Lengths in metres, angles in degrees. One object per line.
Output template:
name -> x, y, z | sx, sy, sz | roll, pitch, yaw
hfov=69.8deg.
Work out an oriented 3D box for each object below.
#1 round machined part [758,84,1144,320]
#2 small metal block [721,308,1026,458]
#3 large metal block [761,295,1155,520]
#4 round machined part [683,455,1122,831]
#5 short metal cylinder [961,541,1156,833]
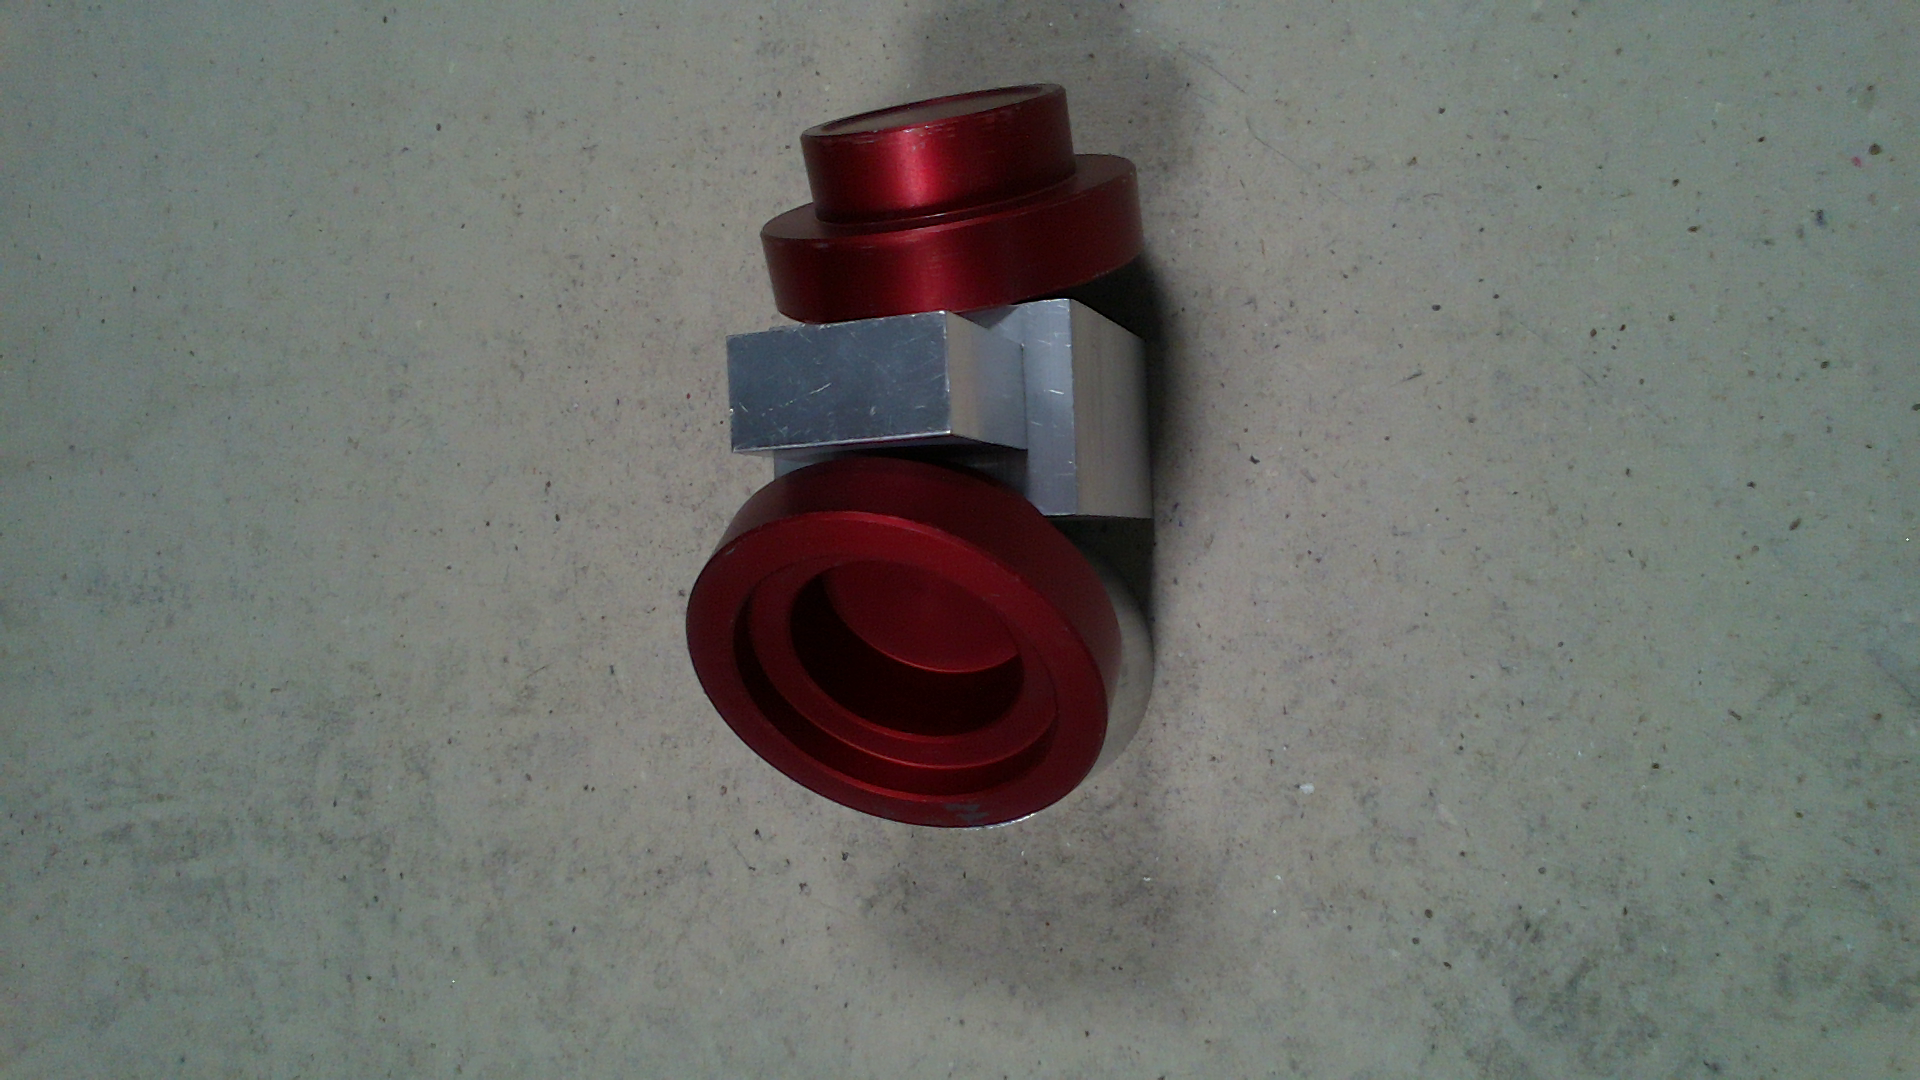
round machined part -> -0.004, -0.090, 0.354 | 0.098, 0.098, 0.042 | -3, 114, 20
small metal block -> -0.017, -0.032, 0.303 | 0.050, 0.050, 0.025 | -3, 89, 20
large metal block -> 0.003, -0.030, 0.365 | 0.080, 0.080, 0.050 | -2, 89, 20
round machined part -> -0.011, 0.020, 0.320 | 0.098, 0.042, 0.098 | 9, 131, 11
short metal cylinder -> 0.009, 0.036, 0.380 | 0.080, 0.050, 0.080 | 0, 90, 20
